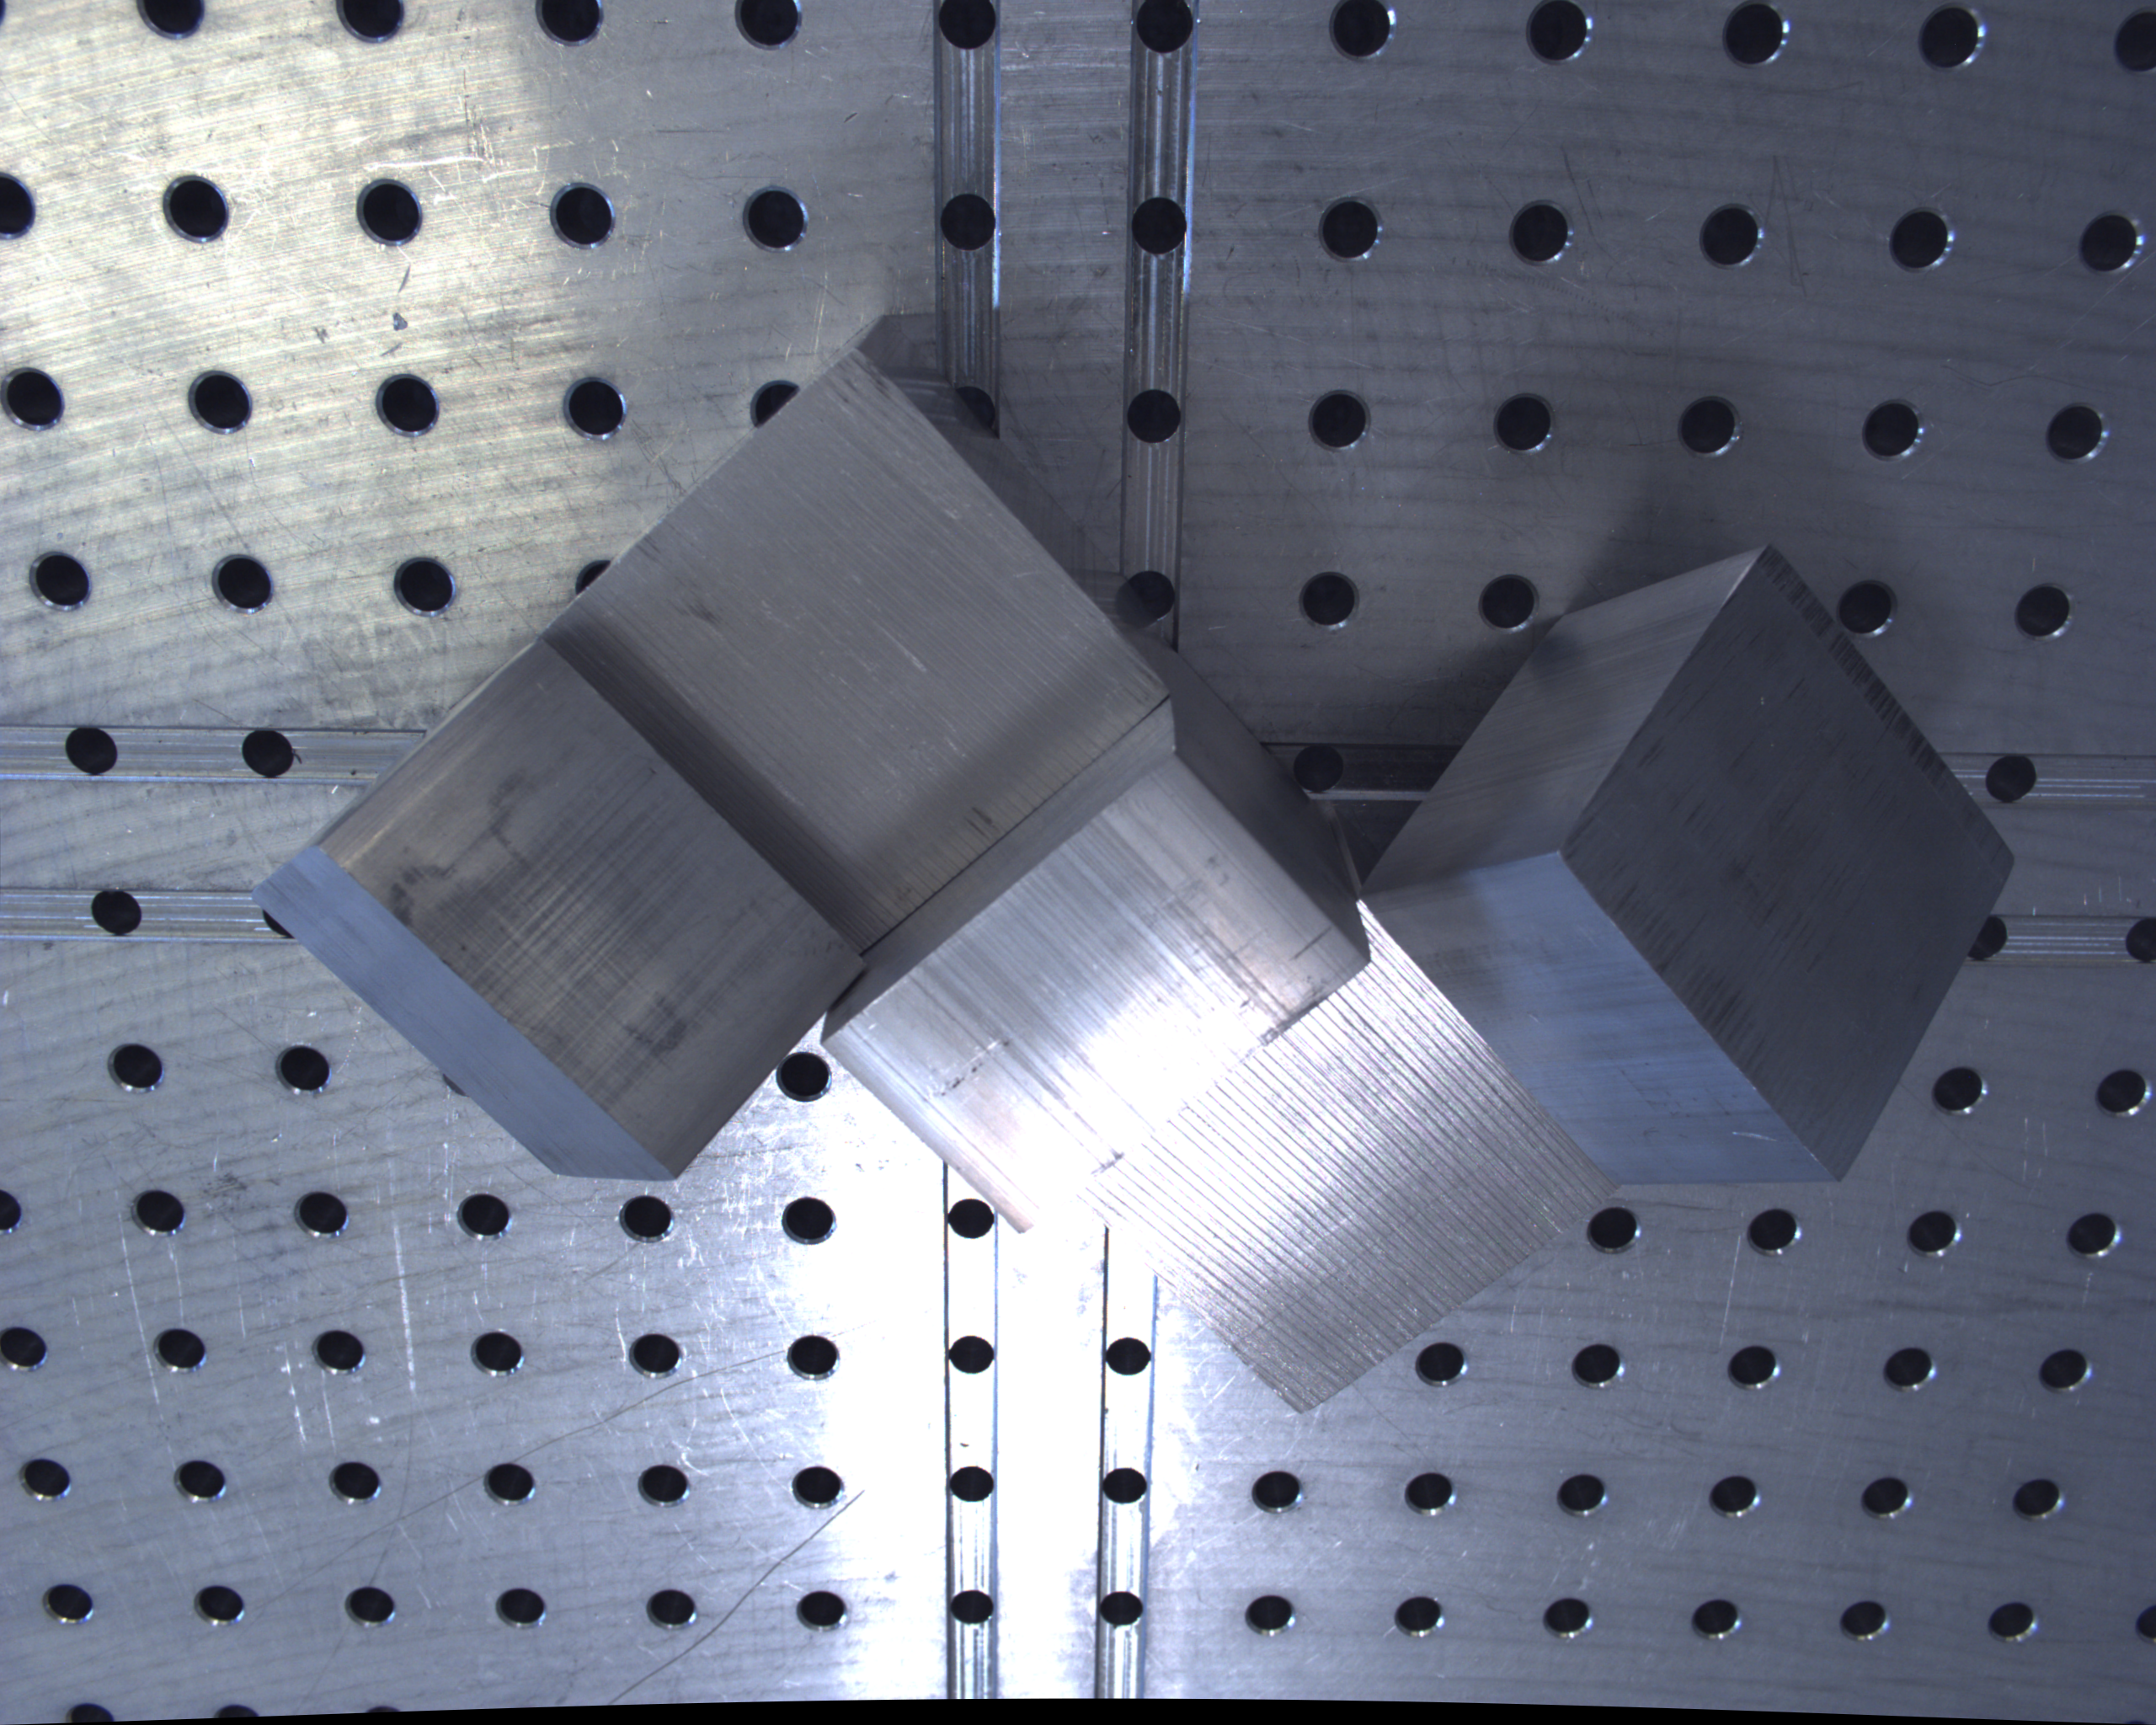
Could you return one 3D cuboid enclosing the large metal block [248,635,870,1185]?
[{"bbox_3d":[-0.097,0.012,0.380,0.080,0.080,0.050,47,65,-15],"label":"large metal block"}]

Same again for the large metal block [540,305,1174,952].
[{"bbox_3d":[-0.040,-0.042,0.384,0.080,0.050,0.080,-39,106,14],"label":"large metal block"}]

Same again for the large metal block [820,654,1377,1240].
[{"bbox_3d":[0.003,0.009,0.387,0.080,0.080,0.050,-40,107,13],"label":"large metal block"}]

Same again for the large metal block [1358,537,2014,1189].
[{"bbox_3d":[0.111,0.002,0.379,0.080,0.050,0.080,47,63,-16],"label":"large metal block"}]

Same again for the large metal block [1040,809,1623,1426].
[{"bbox_3d":[0.047,0.050,0.418,0.080,0.050,0.080,-39,104,13],"label":"large metal block"}]
